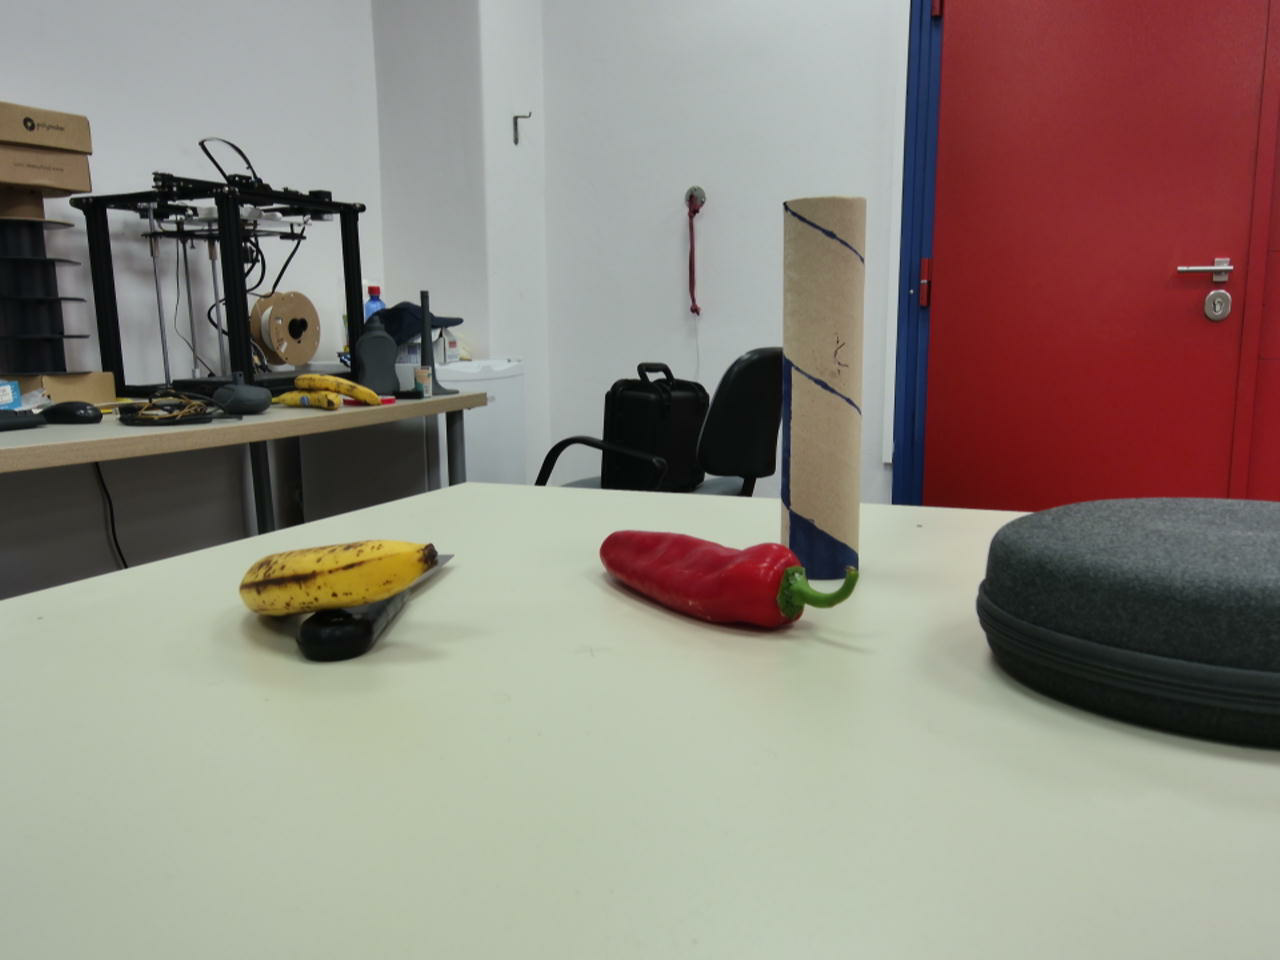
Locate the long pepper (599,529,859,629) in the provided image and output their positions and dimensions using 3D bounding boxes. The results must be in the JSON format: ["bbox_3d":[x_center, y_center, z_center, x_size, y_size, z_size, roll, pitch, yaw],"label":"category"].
[{"bbox_3d":[0.032,0.049,0.547,0.050,0.043,0.211,-4,7,-34],"label":"long pepper"}]
